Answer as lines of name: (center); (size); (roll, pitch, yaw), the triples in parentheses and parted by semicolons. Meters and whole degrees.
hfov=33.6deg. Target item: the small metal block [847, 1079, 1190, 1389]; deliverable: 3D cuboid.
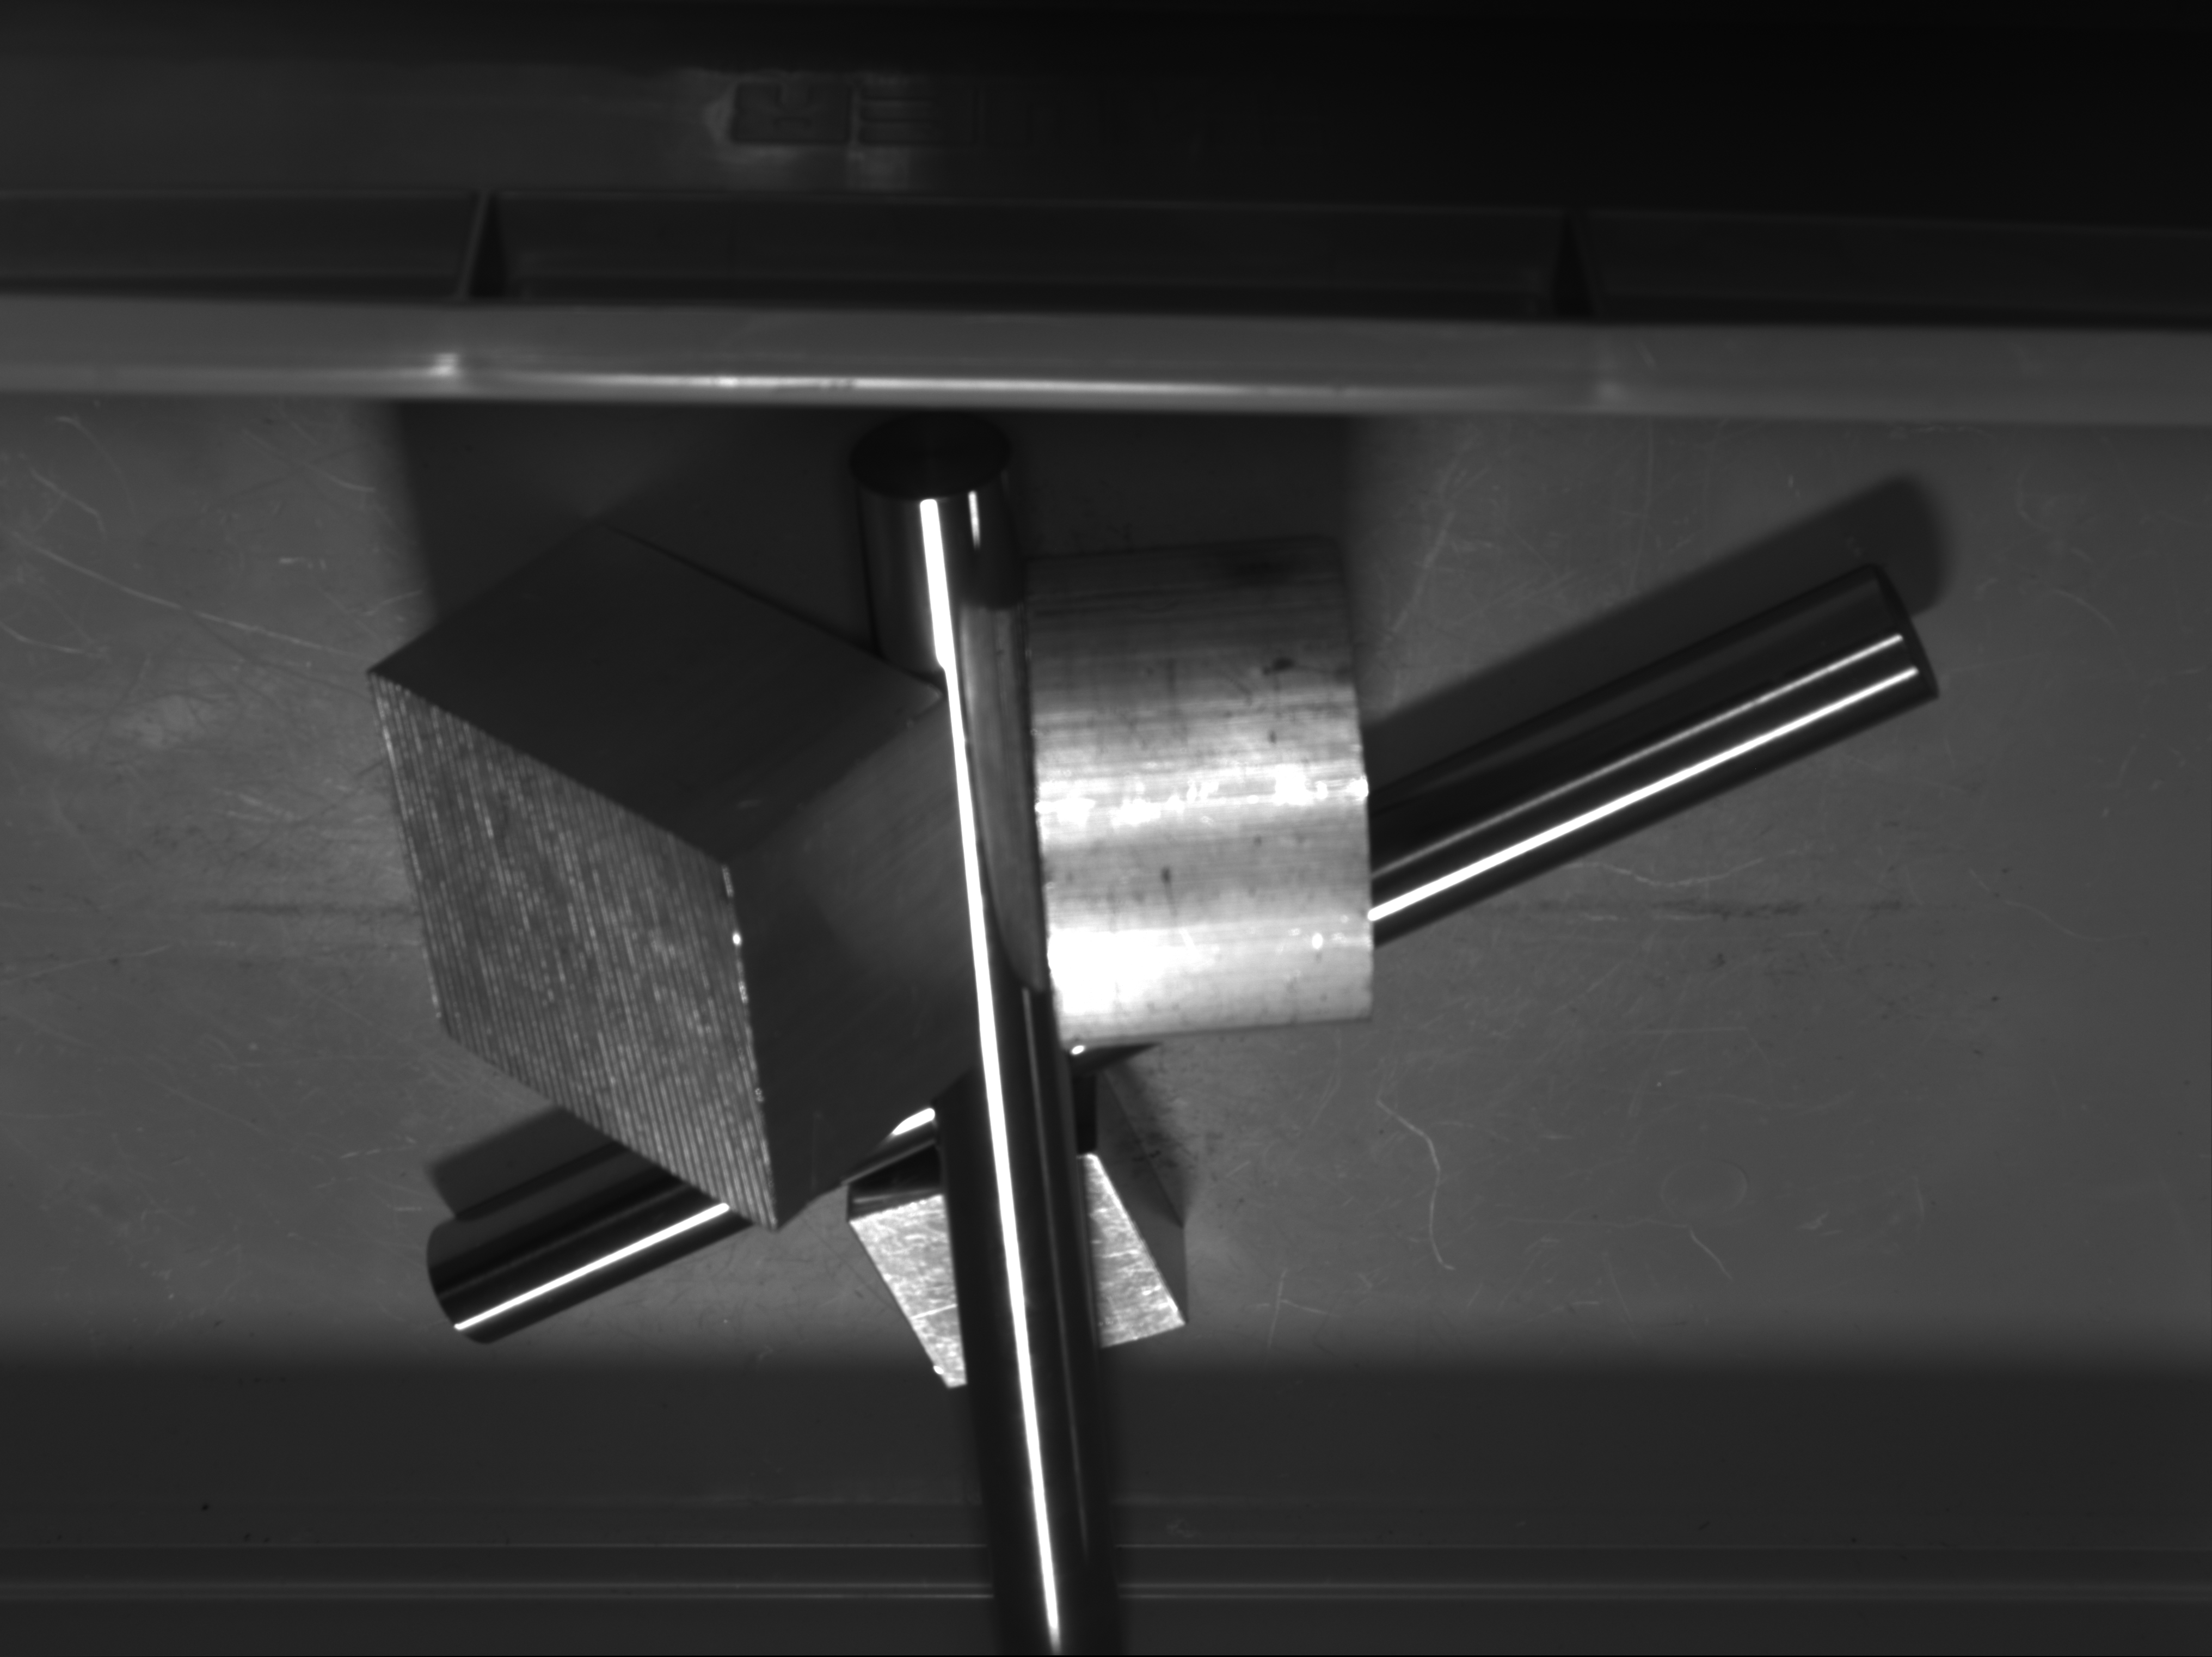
small metal block: (-0.016, 0.076, 0.700); (0.050, 0.025, 0.050); (-17, 128, 12)

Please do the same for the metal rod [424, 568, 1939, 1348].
metal rod: (0.005, 0.028, 0.660); (0.300, 0.025, 0.025); (-25, 126, 18)

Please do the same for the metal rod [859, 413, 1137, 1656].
metal rod: (-0.015, 0.060, 0.653); (0.025, 0.025, 0.300); (-4, 129, 1)

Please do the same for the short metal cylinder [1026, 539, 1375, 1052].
short metal cylinder: (0.015, -0.005, 0.596); (0.050, 0.080, 0.080); (-4, 130, 0)

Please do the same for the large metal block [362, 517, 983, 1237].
large metal block: (-0.069, 0.007, 0.599); (0.080, 0.050, 0.080); (26, 138, 30)
